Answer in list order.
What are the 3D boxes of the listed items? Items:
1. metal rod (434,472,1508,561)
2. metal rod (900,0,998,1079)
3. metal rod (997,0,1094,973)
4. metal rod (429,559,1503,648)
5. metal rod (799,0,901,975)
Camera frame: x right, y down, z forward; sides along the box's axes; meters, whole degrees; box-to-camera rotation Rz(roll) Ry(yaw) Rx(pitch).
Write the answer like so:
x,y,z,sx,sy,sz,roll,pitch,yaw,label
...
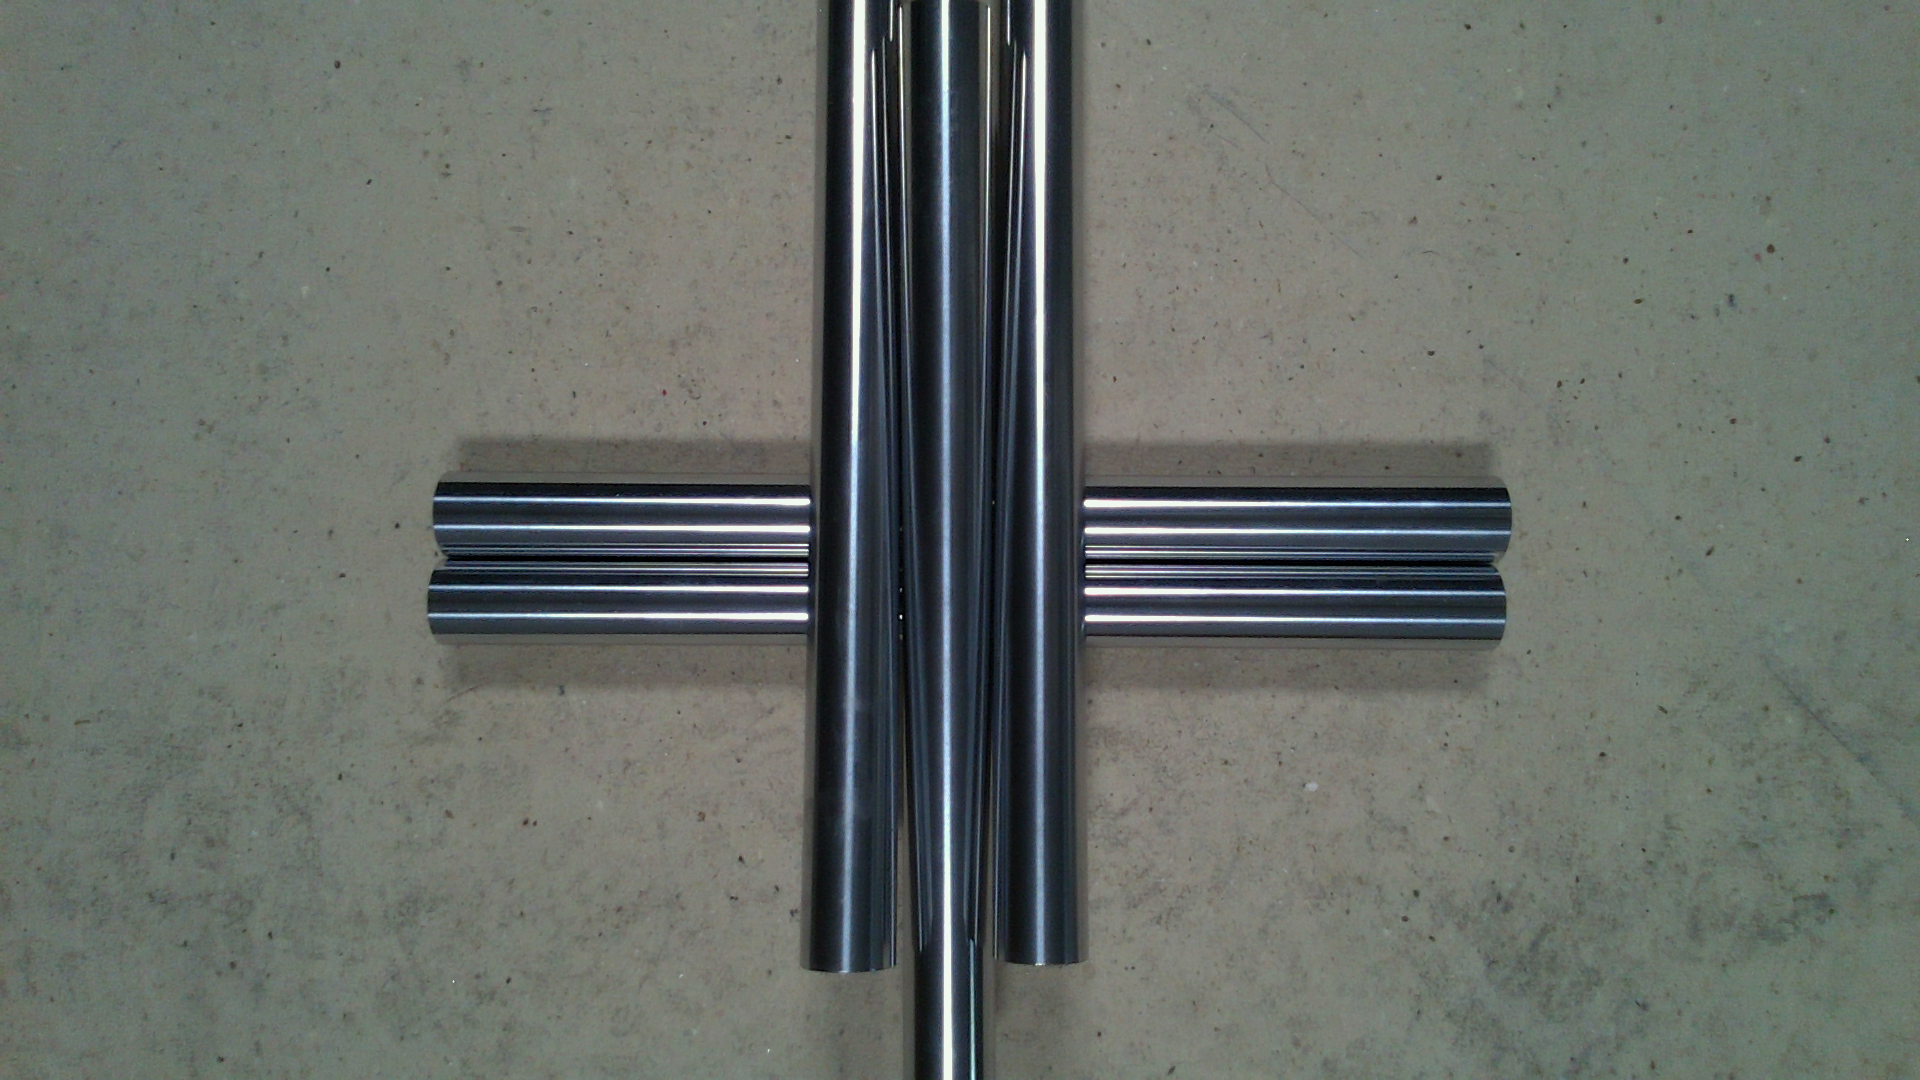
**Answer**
x,y,z,sx,sy,sz,roll,pitch,yaw,label
0.003,-0.007,0.396,0.300,0.025,0.025,0,90,0,metal rod
-0.003,0.008,0.370,0.025,0.025,0.300,0,90,0,metal rod
0.023,-0.040,0.374,0.025,0.025,0.300,0,82,0,metal rod
0.002,0.018,0.396,0.300,0.025,0.025,0,90,0,metal rod
-0.028,-0.039,0.374,0.025,0.025,0.300,0,82,0,metal rod
